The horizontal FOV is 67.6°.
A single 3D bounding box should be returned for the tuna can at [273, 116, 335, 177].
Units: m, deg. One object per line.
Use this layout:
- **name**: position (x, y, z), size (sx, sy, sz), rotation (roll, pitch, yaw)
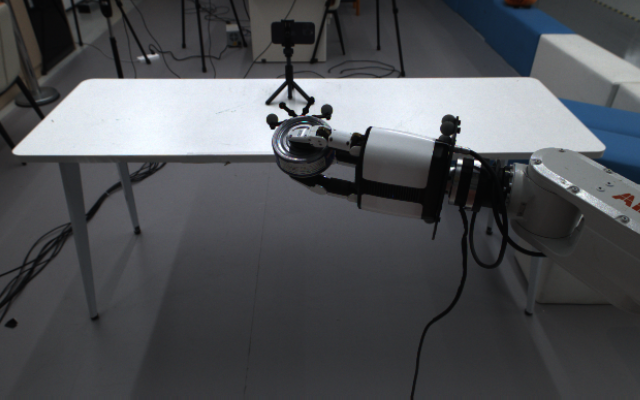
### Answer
- **tuna can**: position (-0.018, -0.069, 0.662), size (0.085, 0.034, 0.085), rotation (-3, 58, 5)
